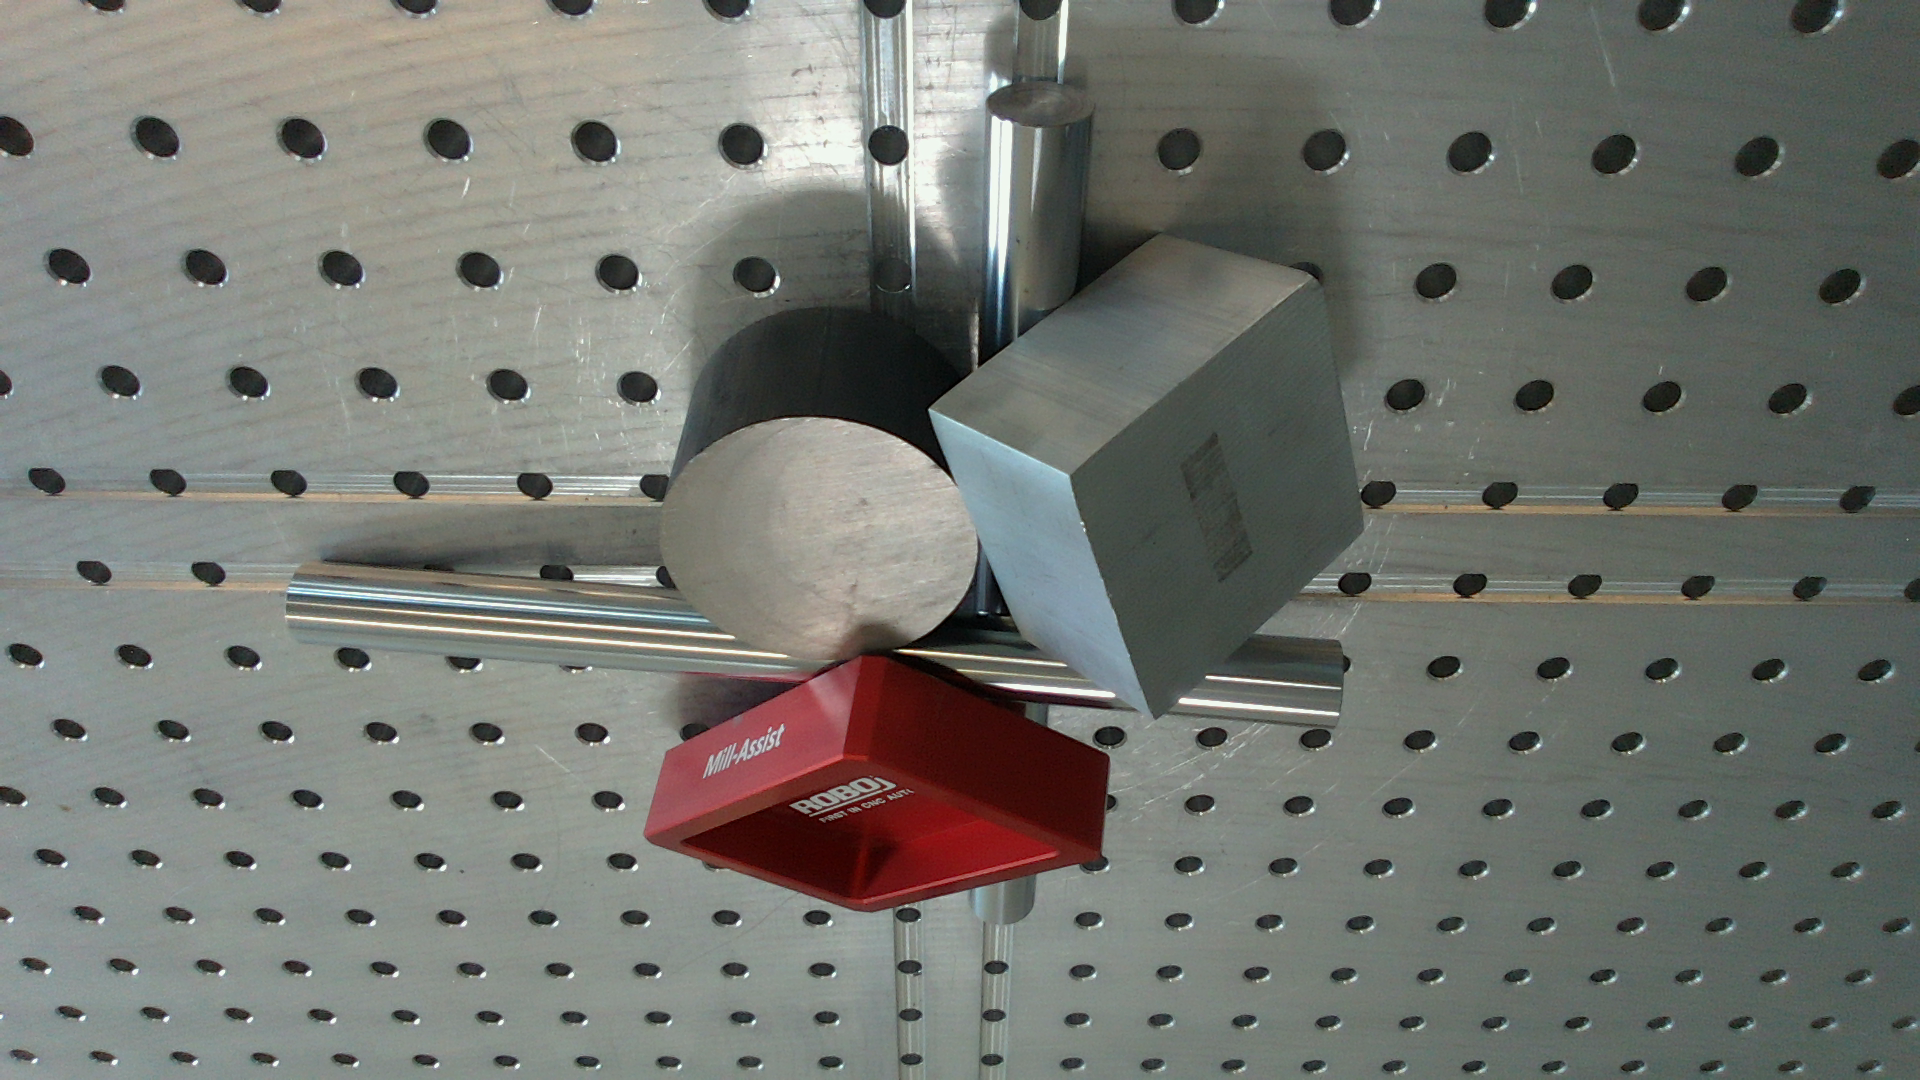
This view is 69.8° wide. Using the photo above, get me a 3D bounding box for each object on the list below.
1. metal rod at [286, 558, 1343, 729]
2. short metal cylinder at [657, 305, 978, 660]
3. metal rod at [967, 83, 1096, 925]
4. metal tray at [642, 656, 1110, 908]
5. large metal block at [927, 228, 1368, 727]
[{"bbox_3d":[-0.045,0.029,0.396,0.300,0.025,0.025,4,130,5],"label":"metal rod"},{"bbox_3d":[-0.036,-0.014,0.364,0.080,0.050,0.080,0,130,0],"label":"short metal cylinder"},{"bbox_3d":[0.017,0.016,0.407,0.025,0.025,0.300,0,130,0],"label":"metal rod"},{"bbox_3d":[-0.028,0.081,0.424,0.090,0.030,0.129,27,146,-28],"label":"metal tray"},{"bbox_3d":[0.049,-0.017,0.337,0.080,0.050,0.080,-39,131,-20],"label":"large metal block"}]
